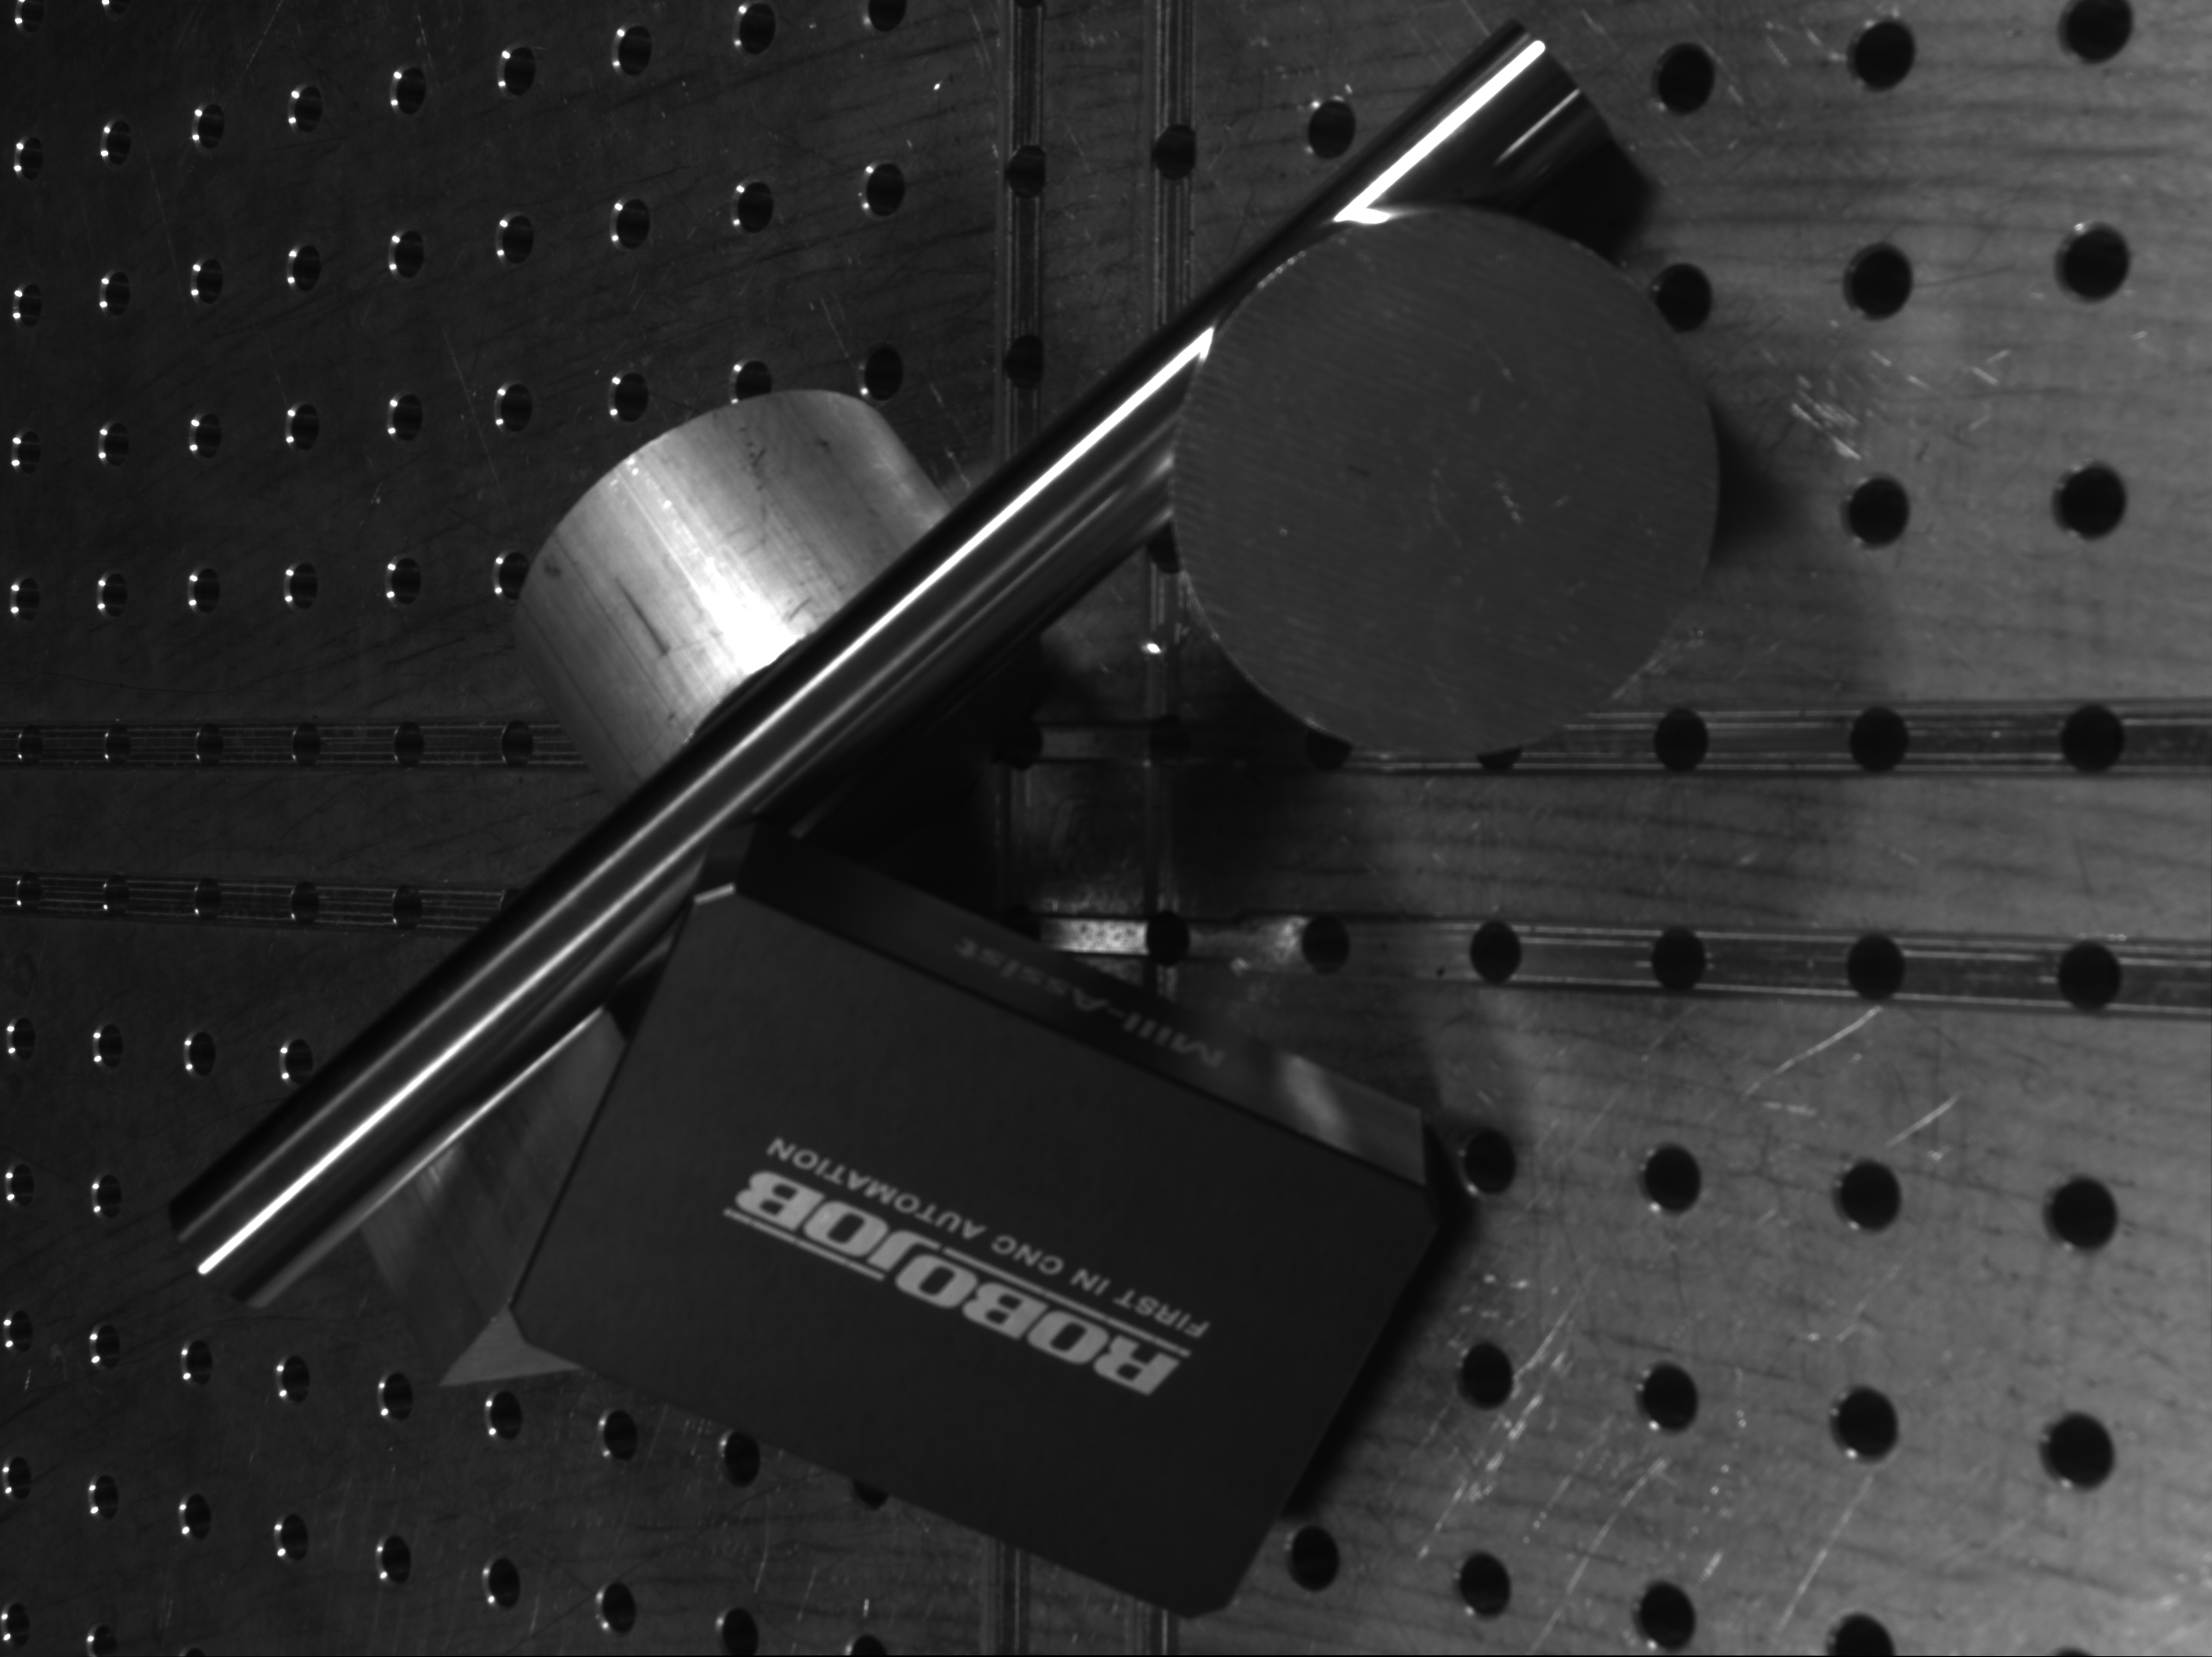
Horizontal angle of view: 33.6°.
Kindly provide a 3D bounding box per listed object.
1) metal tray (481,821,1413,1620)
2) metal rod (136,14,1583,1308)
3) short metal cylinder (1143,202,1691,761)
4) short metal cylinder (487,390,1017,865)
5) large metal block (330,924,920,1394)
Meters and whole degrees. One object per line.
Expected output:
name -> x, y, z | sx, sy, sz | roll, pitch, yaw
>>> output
metal tray -> -0.026, 0.066, 0.606 | 0.130, 0.030, 0.090 | 24, 110, -7
metal rod -> -0.045, -0.024, 0.607 | 0.300, 0.025, 0.025 | -41, 64, 8
short metal cylinder -> 0.046, -0.054, 0.560 | 0.080, 0.050, 0.080 | 0, 102, 2
short metal cylinder -> -0.063, -0.032, 0.655 | 0.080, 0.080, 0.050 | -51, 60, 27
large metal block -> -0.088, 0.056, 0.675 | 0.080, 0.080, 0.050 | -47, 62, 29
